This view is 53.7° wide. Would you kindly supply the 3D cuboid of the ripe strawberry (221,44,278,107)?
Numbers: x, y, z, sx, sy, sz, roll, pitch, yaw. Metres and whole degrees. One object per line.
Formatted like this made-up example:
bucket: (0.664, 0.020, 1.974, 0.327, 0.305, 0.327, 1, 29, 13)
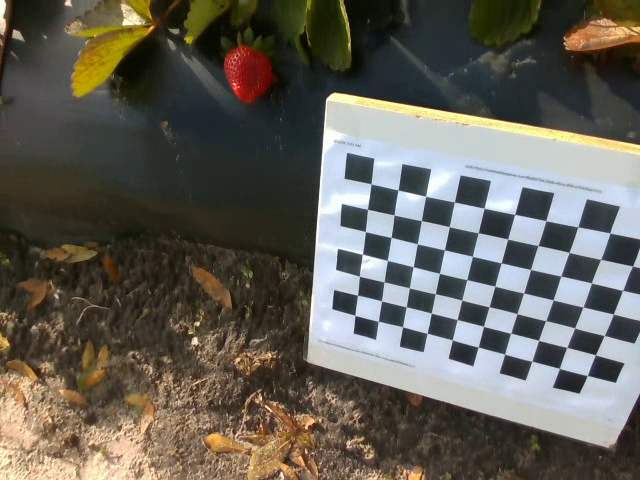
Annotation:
ripe strawberry: (-0.050, -0.109, 0.428, 0.041, 0.047, 0.041, -10, -32, 37)
